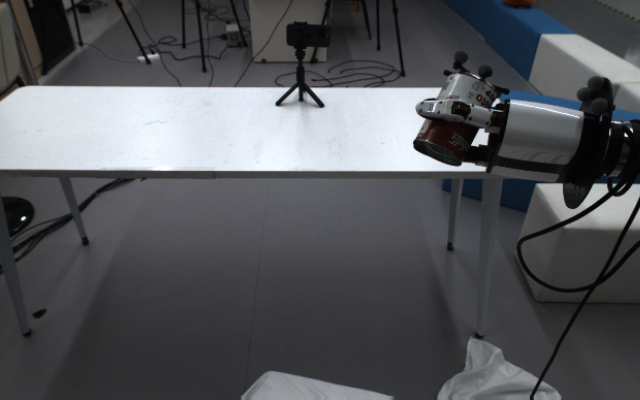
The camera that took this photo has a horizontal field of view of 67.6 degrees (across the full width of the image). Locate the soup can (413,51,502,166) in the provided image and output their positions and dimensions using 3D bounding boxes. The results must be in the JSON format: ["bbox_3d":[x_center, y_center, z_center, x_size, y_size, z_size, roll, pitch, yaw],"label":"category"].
[{"bbox_3d":[0.174,-0.104,0.621,0.067,0.101,0.067,28,-2,1],"label":"soup can"}]
